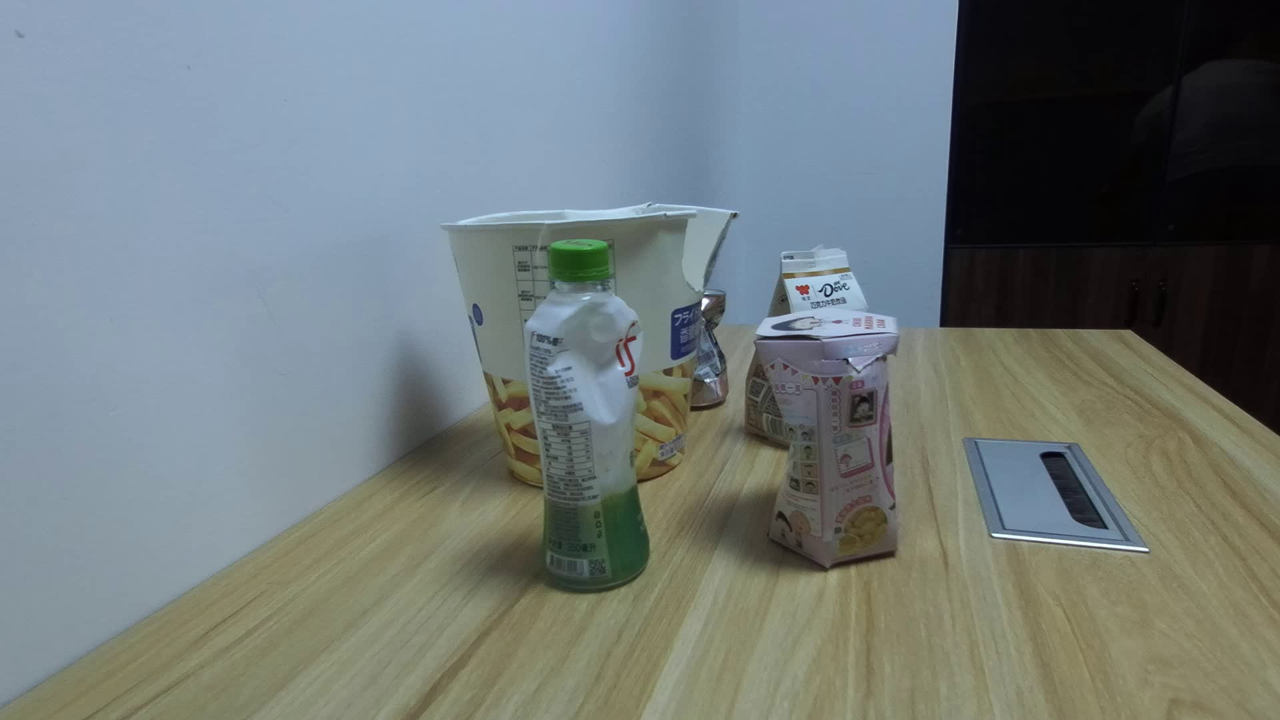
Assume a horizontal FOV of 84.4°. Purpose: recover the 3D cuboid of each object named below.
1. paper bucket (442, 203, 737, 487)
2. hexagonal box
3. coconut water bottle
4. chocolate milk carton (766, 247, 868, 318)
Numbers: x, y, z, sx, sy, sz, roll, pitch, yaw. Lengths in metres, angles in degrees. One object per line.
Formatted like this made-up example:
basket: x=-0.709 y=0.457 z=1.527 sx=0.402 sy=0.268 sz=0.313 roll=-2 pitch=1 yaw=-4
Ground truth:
paper bucket: x=-0.035 y=-0.016 z=0.553 sx=0.203 sy=0.197 sz=0.145 roll=-8 pitch=16 yaw=-19
hexagonal box: x=0.111 y=0.043 z=0.422 sx=0.091 sy=0.134 sz=0.089 roll=-13 pitch=16 yaw=-30
coconut water bottle: x=-0.029 y=0.028 z=0.392 sx=0.069 sy=0.187 sz=0.069 roll=-1 pitch=14 yaw=1
chocolate milk carton: x=0.134 y=-0.013 z=0.579 sx=0.085 sy=0.155 sz=0.072 roll=-14 pitch=19 yaw=-33
